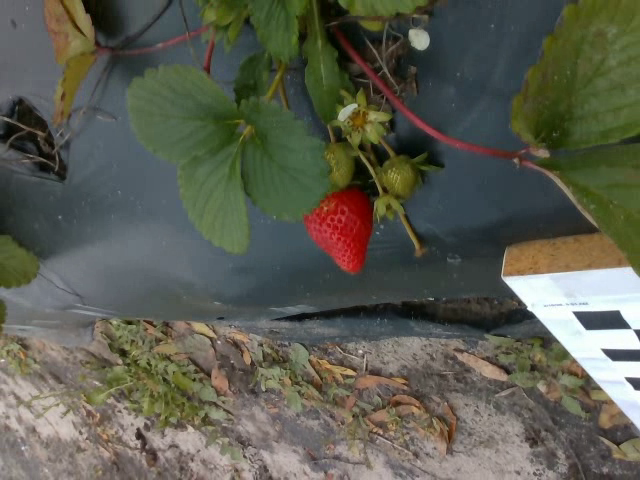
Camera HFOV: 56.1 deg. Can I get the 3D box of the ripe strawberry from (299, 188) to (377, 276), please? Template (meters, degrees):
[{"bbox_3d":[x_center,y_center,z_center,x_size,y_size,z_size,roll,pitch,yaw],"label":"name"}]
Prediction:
[{"bbox_3d":[0.003,-0.001,0.092,0.018,0.017,0.014,-15,7,30],"label":"ripe strawberry"}]
